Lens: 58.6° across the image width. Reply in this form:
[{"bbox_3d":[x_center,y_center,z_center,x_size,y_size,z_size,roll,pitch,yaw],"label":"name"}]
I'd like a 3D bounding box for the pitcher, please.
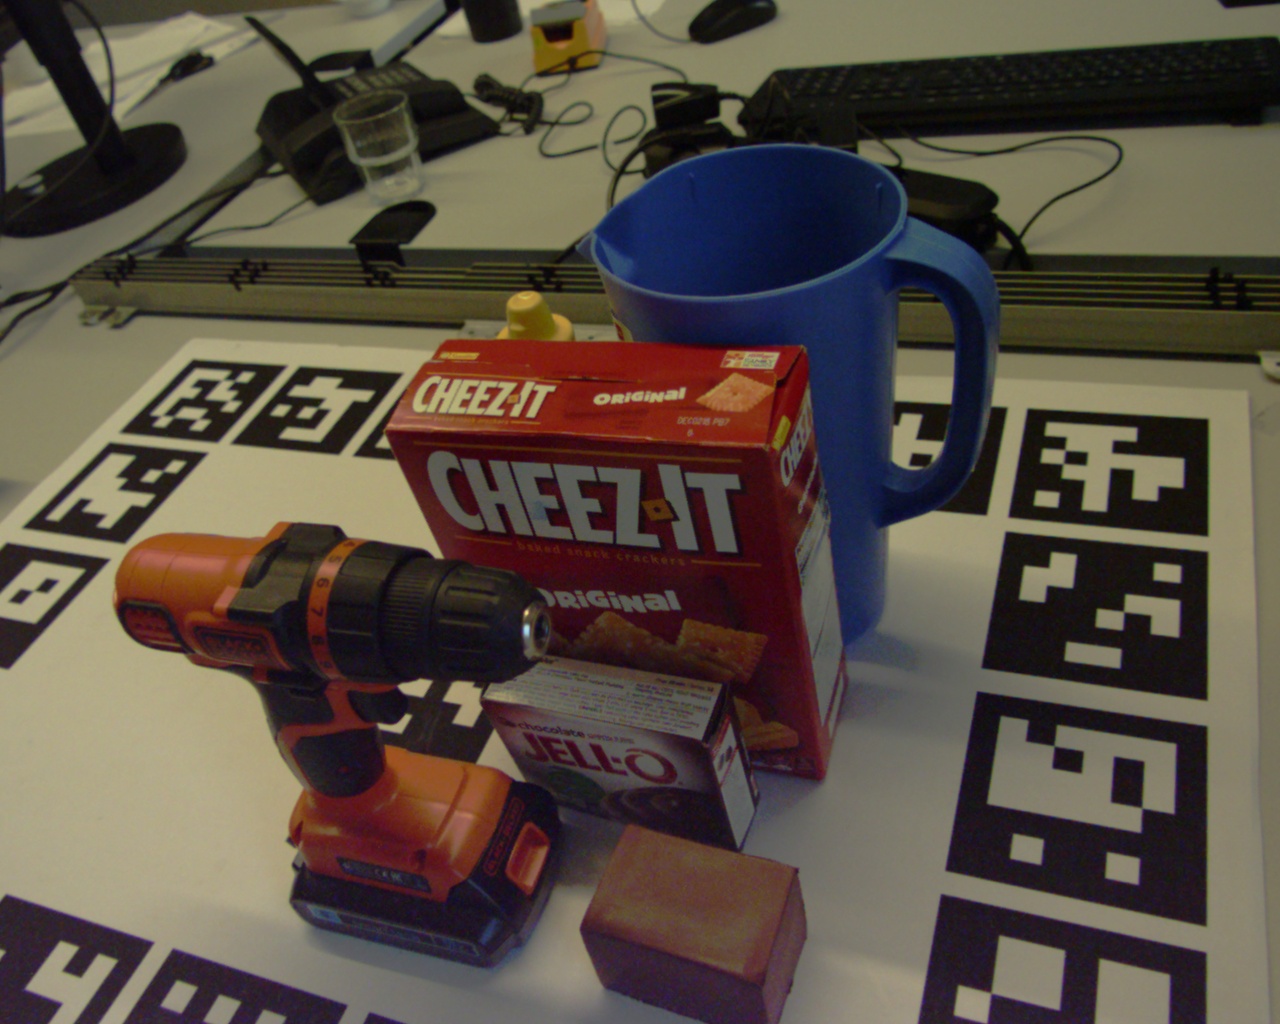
[{"bbox_3d":[0.072,-0.043,0.589,0.191,0.240,0.132,9,47,28],"label":"pitcher"}]

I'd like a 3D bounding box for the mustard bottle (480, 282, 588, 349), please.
[{"bbox_3d":[-0.049,-0.047,0.648,0.097,0.190,0.058,17,52,31],"label":"mustard bottle"}]

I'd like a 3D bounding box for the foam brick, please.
[{"bbox_3d":[0.023,0.172,0.510,0.079,0.051,0.052,8,48,24],"label":"foam brick"}]

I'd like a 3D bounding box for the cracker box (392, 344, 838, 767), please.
[{"bbox_3d":[-0.003,0.027,0.545,0.166,0.212,0.072,3,43,23],"label":"cracker box"}]

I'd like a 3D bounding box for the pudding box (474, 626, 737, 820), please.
[{"bbox_3d":[-0.016,0.099,0.552,0.115,0.089,0.038,5,44,25],"label":"pudding box"}]

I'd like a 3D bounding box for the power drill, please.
[{"bbox_3d":[-0.107,0.086,0.491,0.186,0.186,0.057,5,42,21],"label":"power drill"}]
